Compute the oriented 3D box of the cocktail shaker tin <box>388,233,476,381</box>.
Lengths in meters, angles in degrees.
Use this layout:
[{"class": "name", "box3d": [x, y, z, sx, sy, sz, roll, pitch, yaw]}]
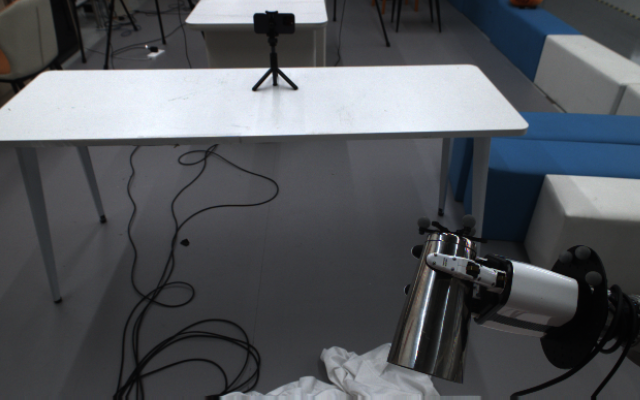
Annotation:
[{"class": "cocktail shaker tin", "box3d": [0.151, 0.130, 0.613, 0.093, 0.093, 0.170, 12, 72, 14]}]
